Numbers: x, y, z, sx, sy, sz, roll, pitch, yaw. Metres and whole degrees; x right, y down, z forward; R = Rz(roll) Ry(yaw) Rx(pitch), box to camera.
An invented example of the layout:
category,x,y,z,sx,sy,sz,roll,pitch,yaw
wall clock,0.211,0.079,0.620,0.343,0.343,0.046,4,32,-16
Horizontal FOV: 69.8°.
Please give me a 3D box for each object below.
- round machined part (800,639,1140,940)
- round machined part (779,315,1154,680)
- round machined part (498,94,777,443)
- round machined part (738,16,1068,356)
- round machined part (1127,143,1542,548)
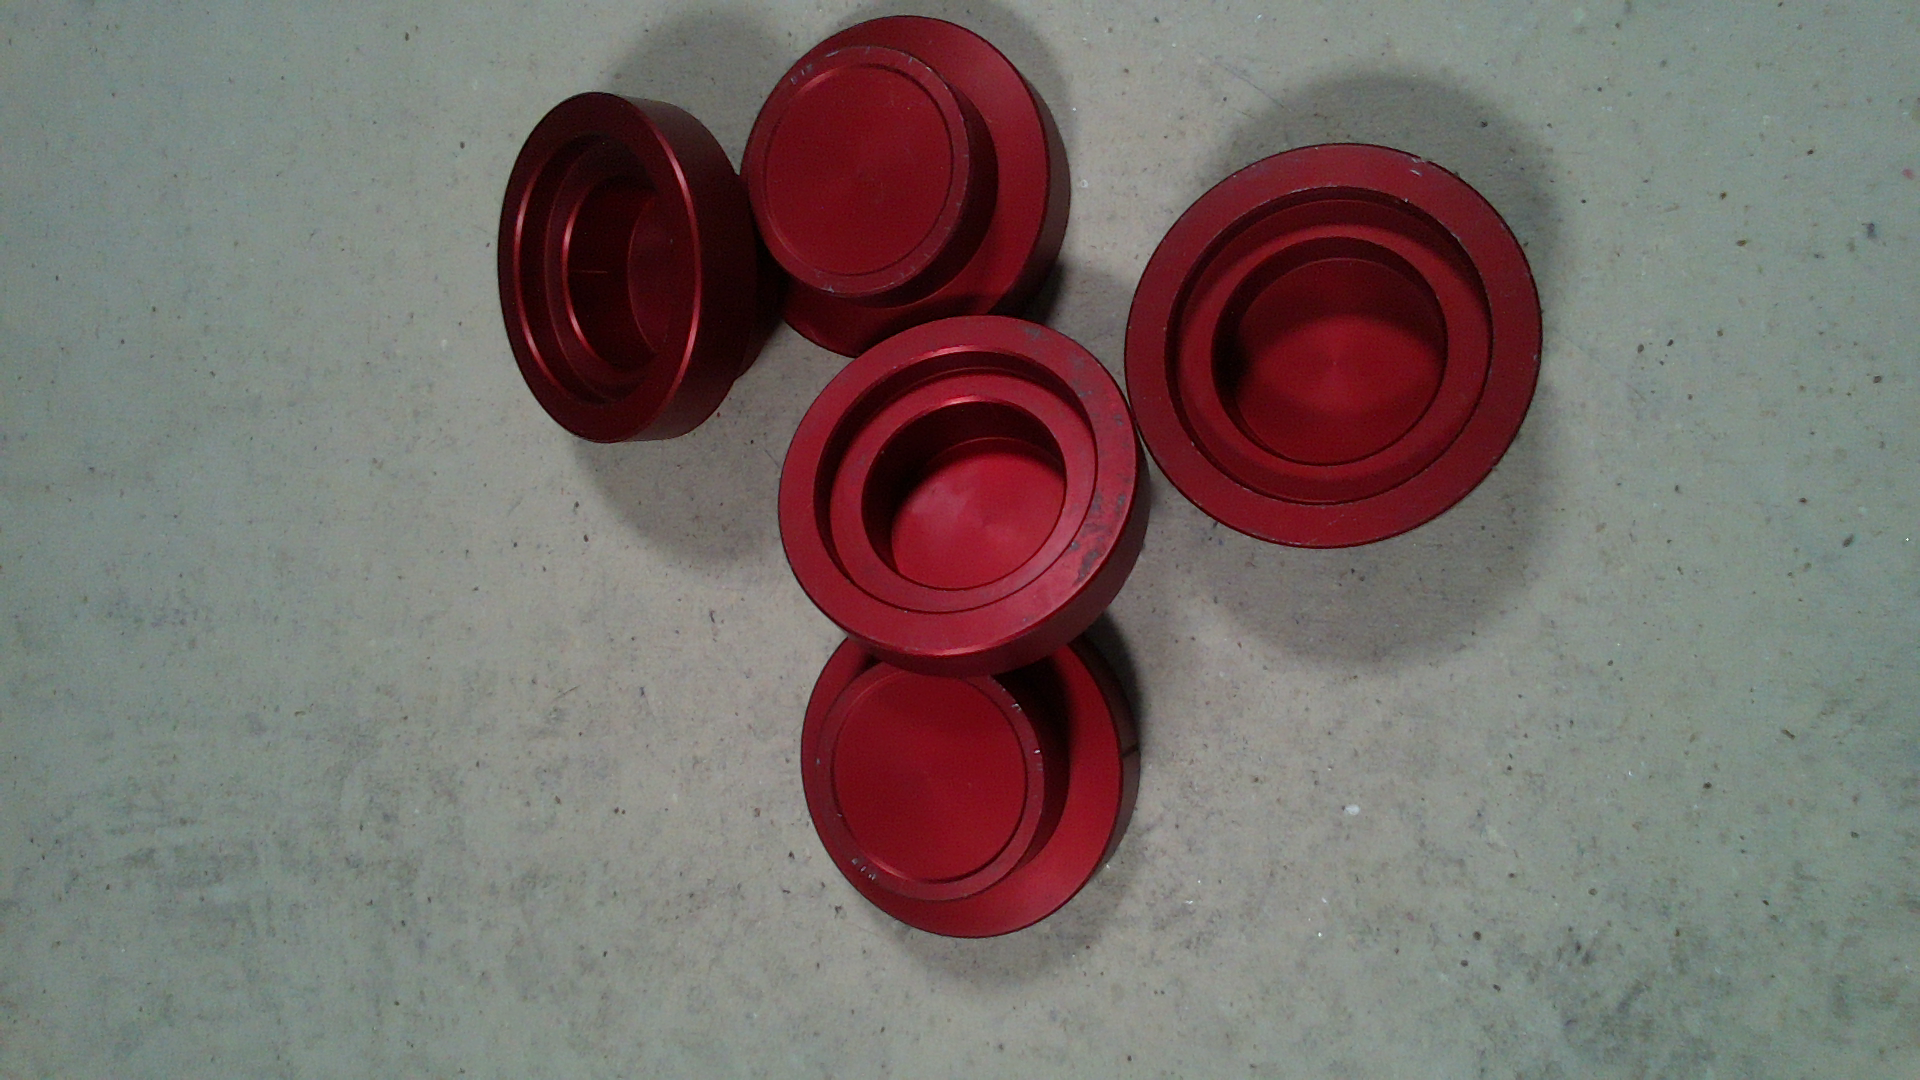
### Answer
category,x,y,z,sx,sy,sz,roll,pitch,yaw
round machined part,-0.002,0.064,0.387,0.098,0.042,0.098,0,90,20
round machined part,0.004,-0.009,0.374,0.098,0.042,0.098,-7,65,15
round machined part,-0.092,-0.079,0.409,0.098,0.042,0.098,8,102,40
round machined part,-0.022,-0.101,0.394,0.098,0.042,0.098,0,90,20
round machined part,0.095,-0.047,0.352,0.098,0.042,0.098,0,90,20
